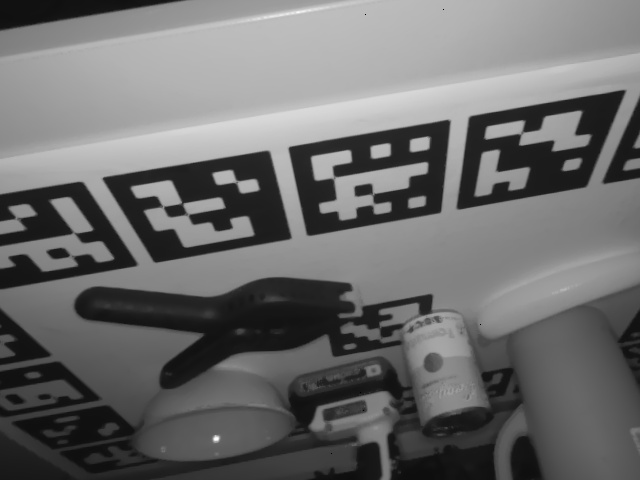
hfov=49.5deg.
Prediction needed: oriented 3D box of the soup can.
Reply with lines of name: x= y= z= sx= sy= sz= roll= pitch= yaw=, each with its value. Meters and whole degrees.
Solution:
soup can: x=0.137 y=0.137 z=0.658 sx=0.068 sy=0.102 sz=0.067 roll=-9 pitch=150 yaw=-4

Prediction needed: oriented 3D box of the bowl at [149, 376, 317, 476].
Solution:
bowl: x=-0.087 y=0.182 z=0.692 sx=0.162 sy=0.055 sz=0.160 roll=-8 pitch=141 yaw=-5

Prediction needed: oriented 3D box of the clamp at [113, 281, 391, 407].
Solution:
clamp: x=-0.043 y=0.075 z=0.572 sx=0.203 sy=0.037 sz=0.164 roll=-11 pitch=138 yaw=0

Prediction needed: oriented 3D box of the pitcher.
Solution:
pitcher: x=0.272 y=0.210 z=0.669 sx=0.187 sy=0.243 sz=0.134 roll=-25 pitch=143 yaw=17

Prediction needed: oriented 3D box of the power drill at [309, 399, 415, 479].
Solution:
power drill: x=0.038 y=0.264 z=0.691 sx=0.184 sy=0.188 sz=0.057 roll=-12 pitch=142 yaw=2

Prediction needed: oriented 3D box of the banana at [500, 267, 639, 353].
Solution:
banana: x=0.250 y=0.060 z=0.645 sx=0.195 sy=0.039 sz=0.075 roll=-25 pitch=149 yaw=19
